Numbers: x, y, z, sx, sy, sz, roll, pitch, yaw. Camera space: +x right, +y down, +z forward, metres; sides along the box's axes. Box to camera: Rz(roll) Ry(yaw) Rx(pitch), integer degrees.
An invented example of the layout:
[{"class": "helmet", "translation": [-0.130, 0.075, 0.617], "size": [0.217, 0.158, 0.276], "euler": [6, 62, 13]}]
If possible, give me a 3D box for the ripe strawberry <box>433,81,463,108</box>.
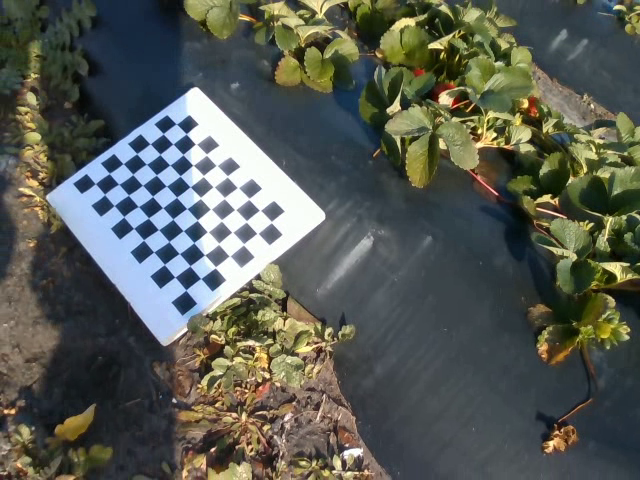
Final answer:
[{"class": "ripe strawberry", "translation": [0.192, -0.241, 0.950], "size": [0.052, 0.046, 0.058], "euler": [7, 18, 15]}]
